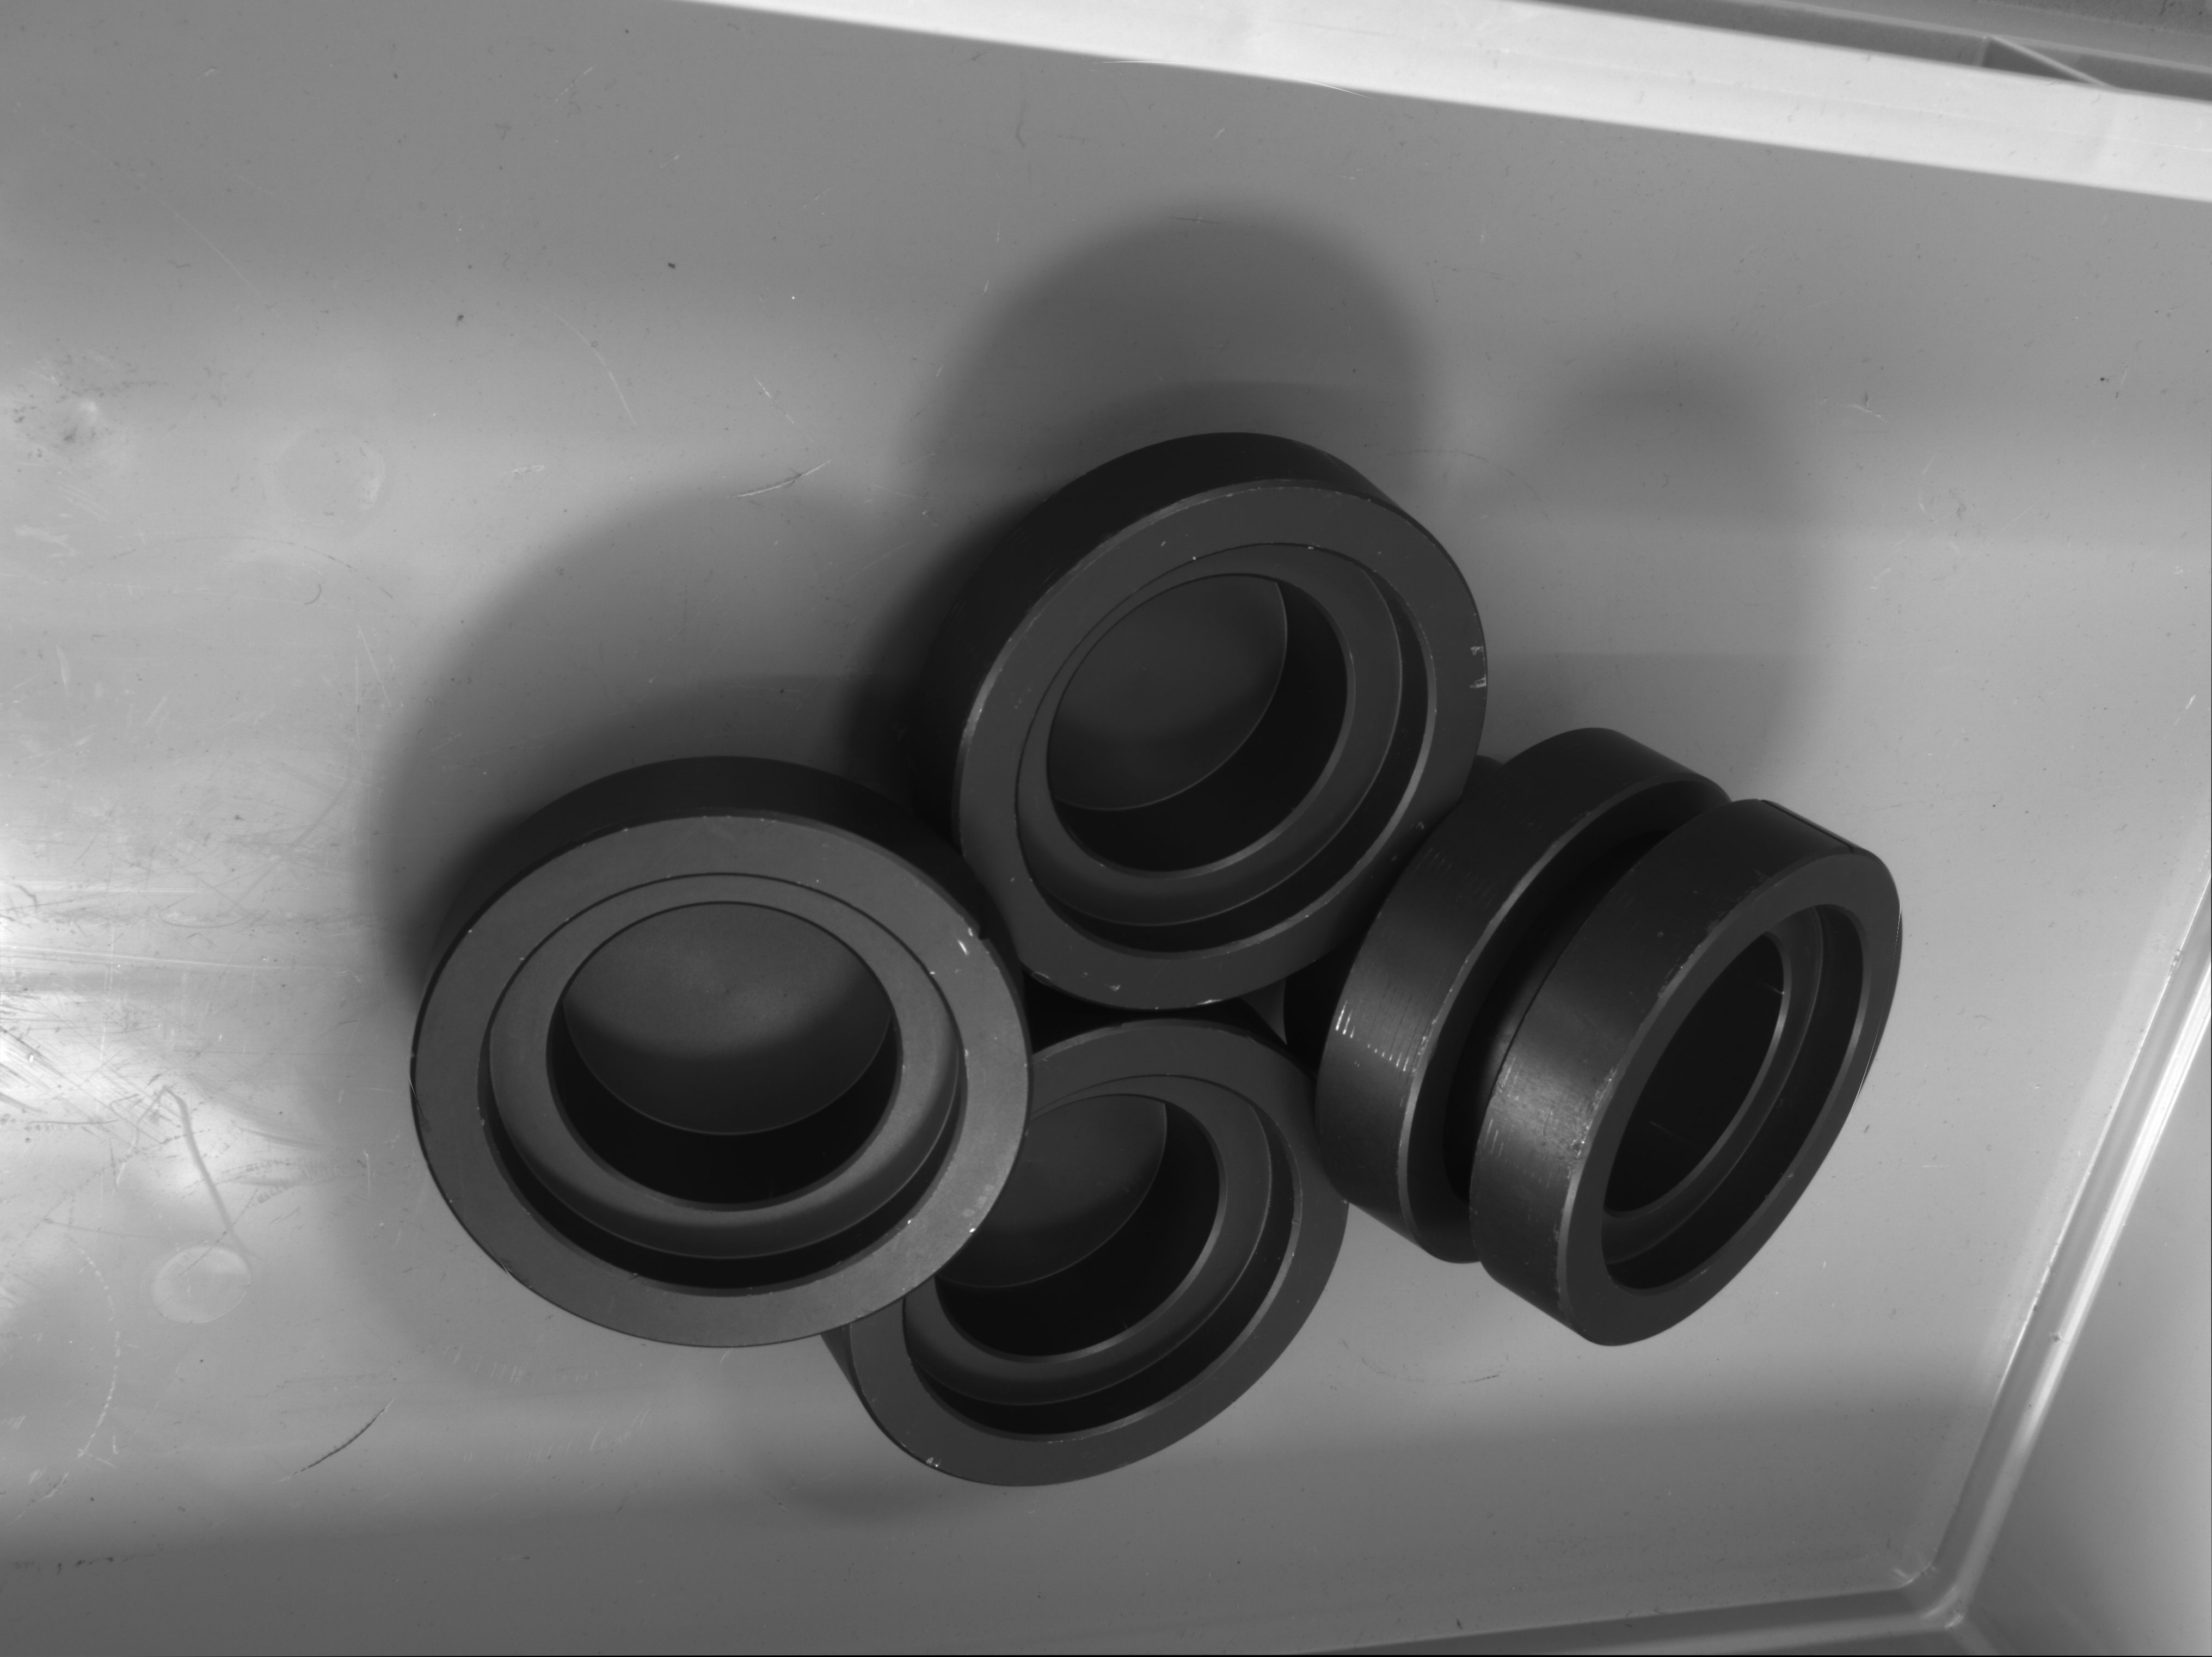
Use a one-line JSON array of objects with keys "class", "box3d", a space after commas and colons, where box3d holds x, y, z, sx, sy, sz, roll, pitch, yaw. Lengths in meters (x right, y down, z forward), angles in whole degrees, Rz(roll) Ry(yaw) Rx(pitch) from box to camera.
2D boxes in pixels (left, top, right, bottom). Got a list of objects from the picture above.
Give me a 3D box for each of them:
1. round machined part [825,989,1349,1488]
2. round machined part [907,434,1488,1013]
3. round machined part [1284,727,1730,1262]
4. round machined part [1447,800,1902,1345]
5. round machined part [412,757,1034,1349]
[{"class": "round machined part", "box3d": [-0.009, 0.067, 0.660, 0.098, 0.042, 0.098, -14, 124, -21]}, {"class": "round machined part", "box3d": [0.012, -0.021, 0.617, 0.098, 0.042, 0.098, -14, 124, -21]}, {"class": "round machined part", "box3d": [0.070, 0.026, 0.664, 0.098, 0.042, 0.098, -33, 138, -35]}, {"class": "round machined part", "box3d": [0.095, 0.039, 0.650, 0.098, 0.042, 0.098, -33, 139, -34]}, {"class": "round machined part", "box3d": [-0.062, 0.032, 0.598, 0.098, 0.042, 0.098, -2, 116, -4]}]
